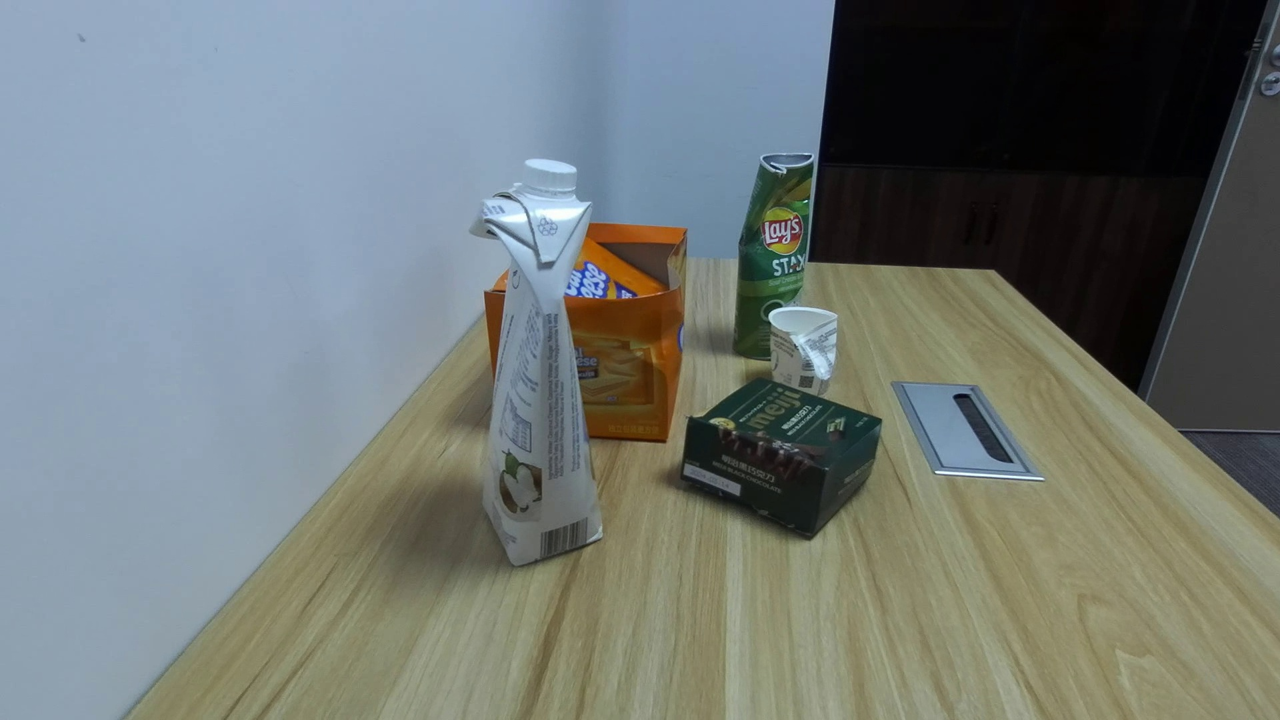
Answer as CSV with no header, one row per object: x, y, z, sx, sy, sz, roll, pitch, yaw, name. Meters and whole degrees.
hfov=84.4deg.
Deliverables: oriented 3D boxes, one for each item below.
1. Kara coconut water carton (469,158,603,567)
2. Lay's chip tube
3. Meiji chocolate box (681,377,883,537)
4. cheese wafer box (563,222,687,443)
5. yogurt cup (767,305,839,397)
-0.062,0.004,0.430,0.069,0.238,0.114,-10,27,-23,Kara coconut water carton
0.135,-0.103,0.713,0.069,0.201,0.077,4,29,6,Lay's chip tube
0.106,0.065,0.522,0.122,0.058,0.116,19,27,32,Meiji chocolate box
-0.033,-0.034,0.649,0.152,0.132,0.230,6,24,4,cheese wafer box
0.148,-0.006,0.655,0.067,0.070,0.067,-1,26,1,yogurt cup
